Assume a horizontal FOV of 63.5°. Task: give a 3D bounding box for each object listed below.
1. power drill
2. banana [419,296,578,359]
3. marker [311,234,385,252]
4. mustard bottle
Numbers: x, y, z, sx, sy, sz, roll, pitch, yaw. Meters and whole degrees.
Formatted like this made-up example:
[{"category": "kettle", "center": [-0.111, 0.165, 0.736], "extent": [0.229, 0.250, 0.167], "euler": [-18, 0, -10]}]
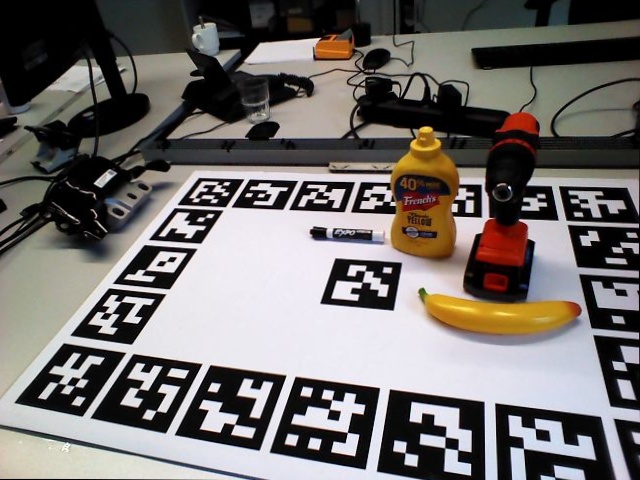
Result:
[{"category": "power drill", "center": [0.233, -0.015, 0.650], "extent": [0.057, 0.187, 0.183], "euler": [15, 41, 26]}, {"category": "banana", "center": [0.212, 0.113, 0.647], "extent": [0.198, 0.039, 0.073], "euler": [8, 42, 24]}, {"category": "marker", "center": [0.044, 0.004, 0.835], "extent": [0.122, 0.020, 0.019], "euler": [5, 41, 19]}, {"category": "mustard bottle", "center": [0.152, -0.049, 0.738], "extent": [0.097, 0.192, 0.058], "euler": [13, 42, 24]}]
